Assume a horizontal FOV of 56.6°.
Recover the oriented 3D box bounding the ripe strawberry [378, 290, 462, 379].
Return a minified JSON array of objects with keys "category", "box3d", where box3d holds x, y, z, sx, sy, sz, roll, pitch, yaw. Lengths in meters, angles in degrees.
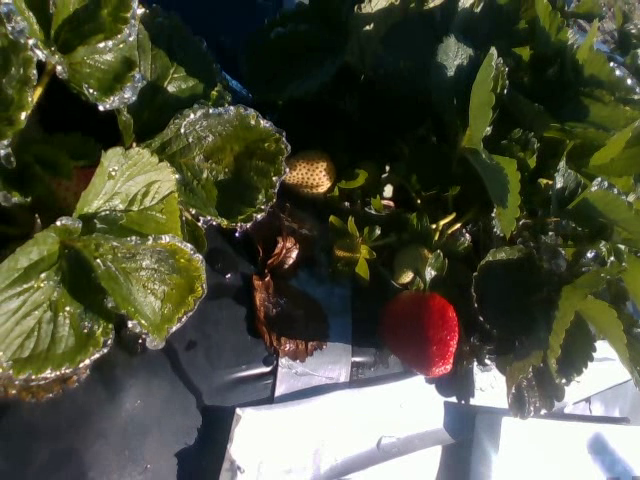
[{"category":"ripe strawberry","box3d":[0.069,0.067,0.370,0.058,0.061,0.065,-30,28,12]}]
